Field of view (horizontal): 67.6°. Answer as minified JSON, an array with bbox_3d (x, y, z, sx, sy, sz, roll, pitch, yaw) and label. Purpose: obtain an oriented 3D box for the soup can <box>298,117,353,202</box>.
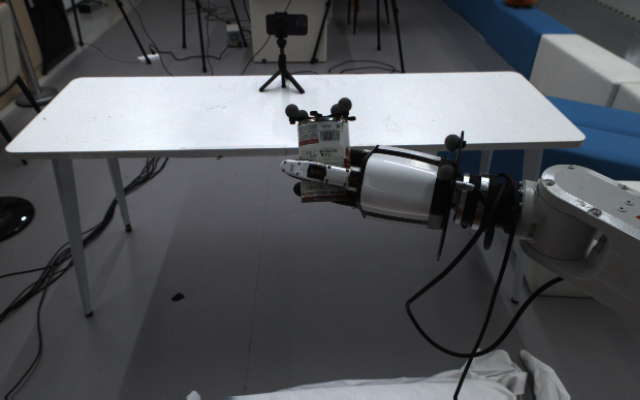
[{"bbox_3d":[0.008,-0.048,0.618,0.067,0.101,0.067,-3,-1,0],"label":"soup can"}]
